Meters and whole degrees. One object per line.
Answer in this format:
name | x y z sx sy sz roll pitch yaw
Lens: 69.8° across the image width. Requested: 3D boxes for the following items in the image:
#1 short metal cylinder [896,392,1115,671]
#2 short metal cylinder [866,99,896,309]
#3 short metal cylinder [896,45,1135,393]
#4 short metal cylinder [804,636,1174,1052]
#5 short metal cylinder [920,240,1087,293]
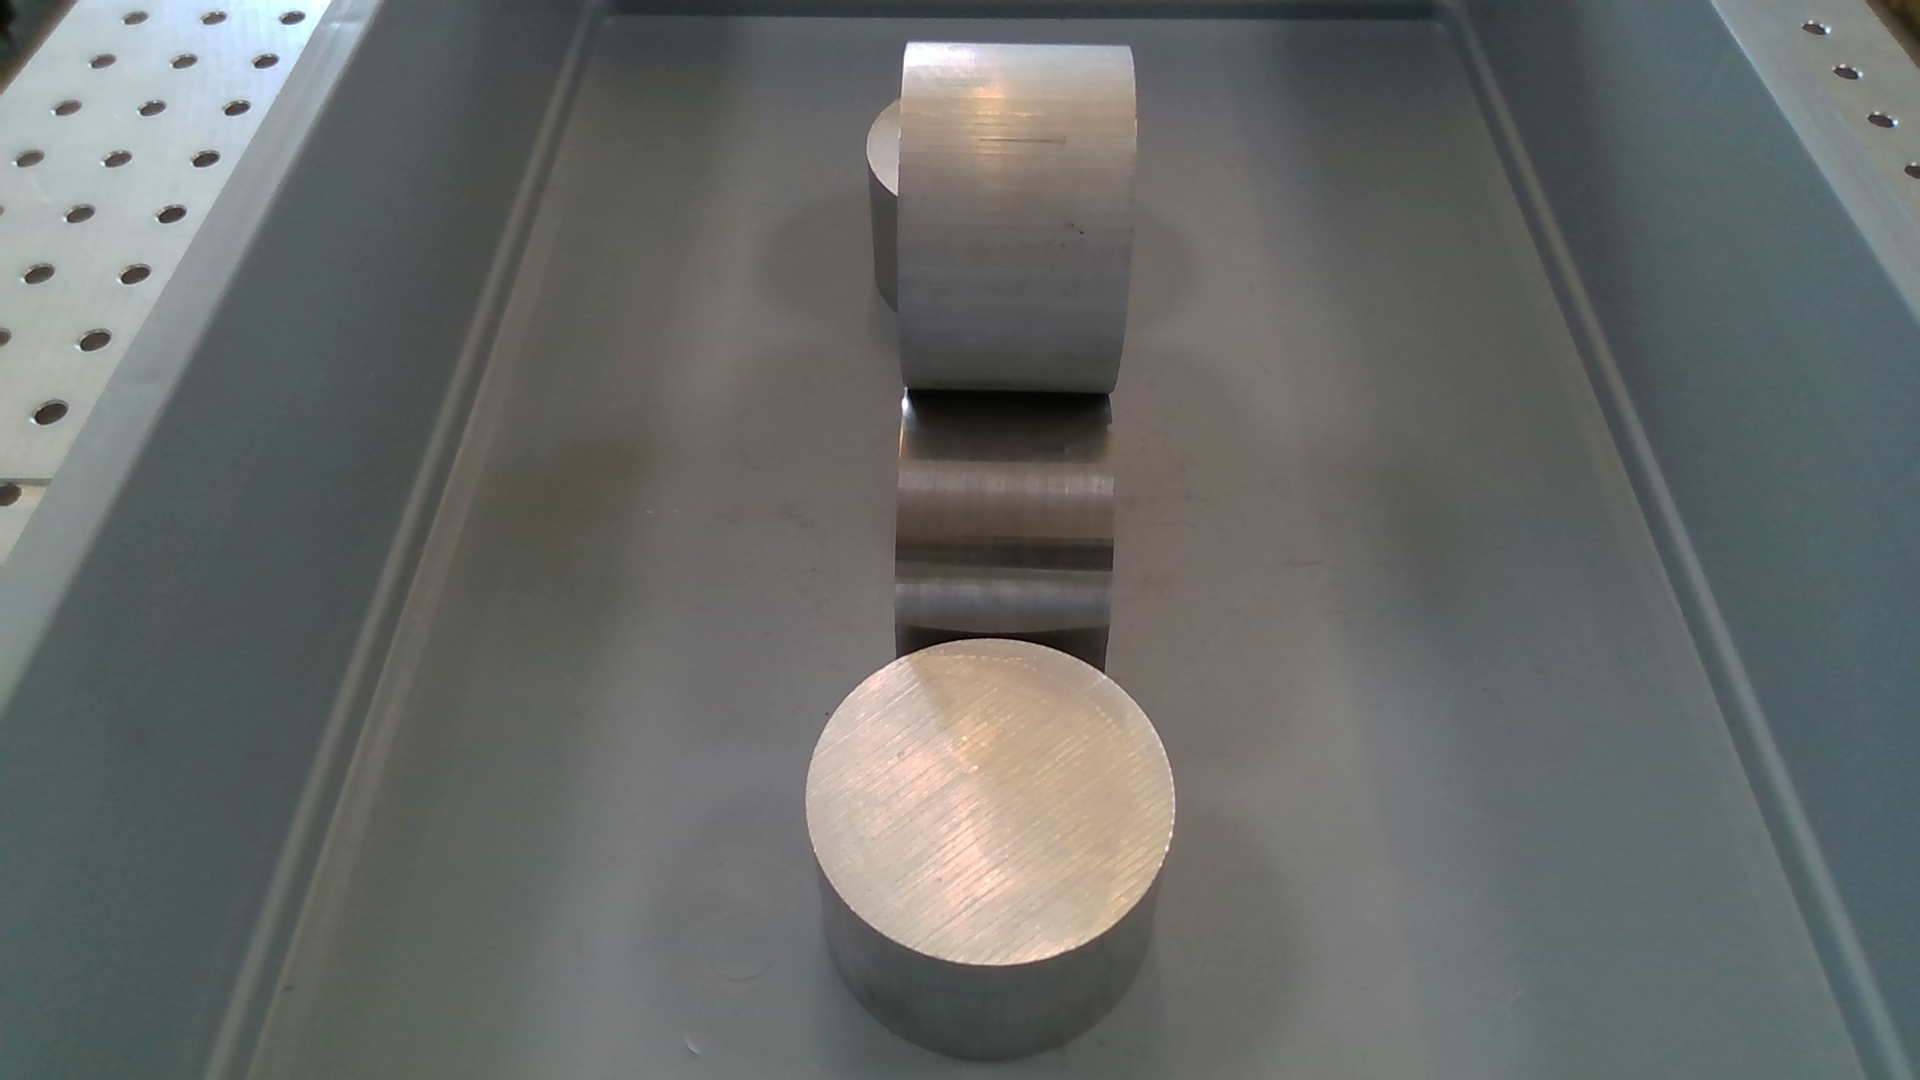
short metal cylinder | 0.011 -0.001 0.357 0.050 0.080 0.080 1 50 1
short metal cylinder | 0.009 -0.115 0.471 0.080 0.050 0.080 0 50 0
short metal cylinder | 0.012 -0.076 0.330 0.050 0.080 0.080 1 50 1
short metal cylinder | 0.006 0.069 0.318 0.080 0.050 0.080 0 50 0
short metal cylinder | 0.013 -0.063 0.408 0.050 0.080 0.080 1 50 1
